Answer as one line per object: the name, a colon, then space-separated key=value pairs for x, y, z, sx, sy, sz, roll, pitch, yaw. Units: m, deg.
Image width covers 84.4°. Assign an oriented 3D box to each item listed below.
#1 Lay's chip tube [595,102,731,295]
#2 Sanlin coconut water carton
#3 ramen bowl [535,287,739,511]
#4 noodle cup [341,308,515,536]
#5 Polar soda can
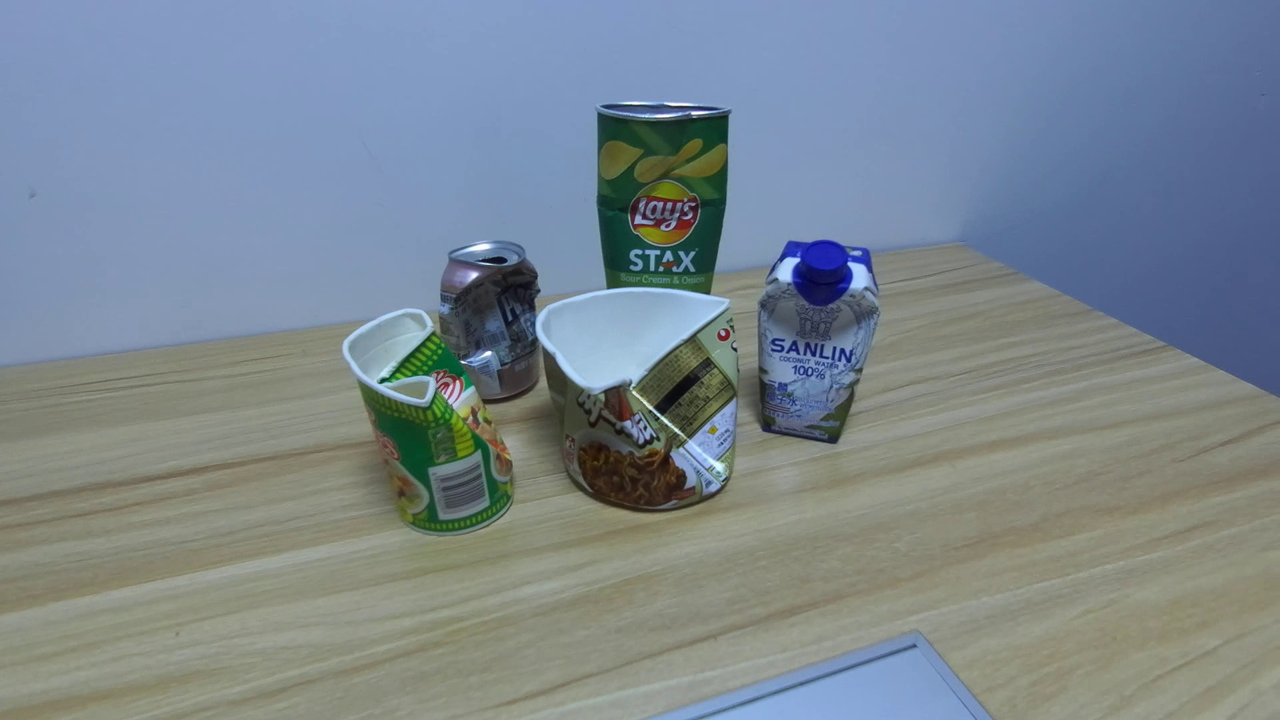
Lay's chip tube: x=0.015 y=-0.085 z=0.527 sx=0.075 sy=0.199 sz=0.068 roll=-19 pitch=35 yaw=-31
Sanlin coconut water carton: x=0.116 y=-0.016 z=0.470 sx=0.078 sy=0.142 sz=0.058 roll=8 pitch=36 yaw=13
ramen bowl: x=0.004 y=0.019 z=0.452 sx=0.137 sy=0.098 sz=0.137 roll=1 pitch=30 yaw=0
noodle cup: x=-0.115 y=0.037 z=0.408 sx=0.075 sy=0.122 sz=0.083 roll=3 pitch=39 yaw=19
Polar soda can: x=-0.109 y=-0.031 z=0.525 sx=0.070 sy=0.114 sz=0.074 roll=3 pitch=35 yaw=-10
